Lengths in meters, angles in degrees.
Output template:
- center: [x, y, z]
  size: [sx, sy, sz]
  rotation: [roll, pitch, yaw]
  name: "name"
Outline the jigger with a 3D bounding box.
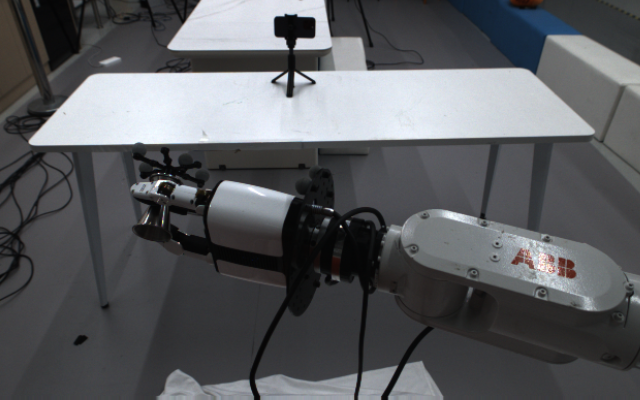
- center: [-0.185, 0.007, 0.555]
  size: [0.043, 0.043, 0.071]
  rotation: [4, 61, 3]
  name: "jigger"
